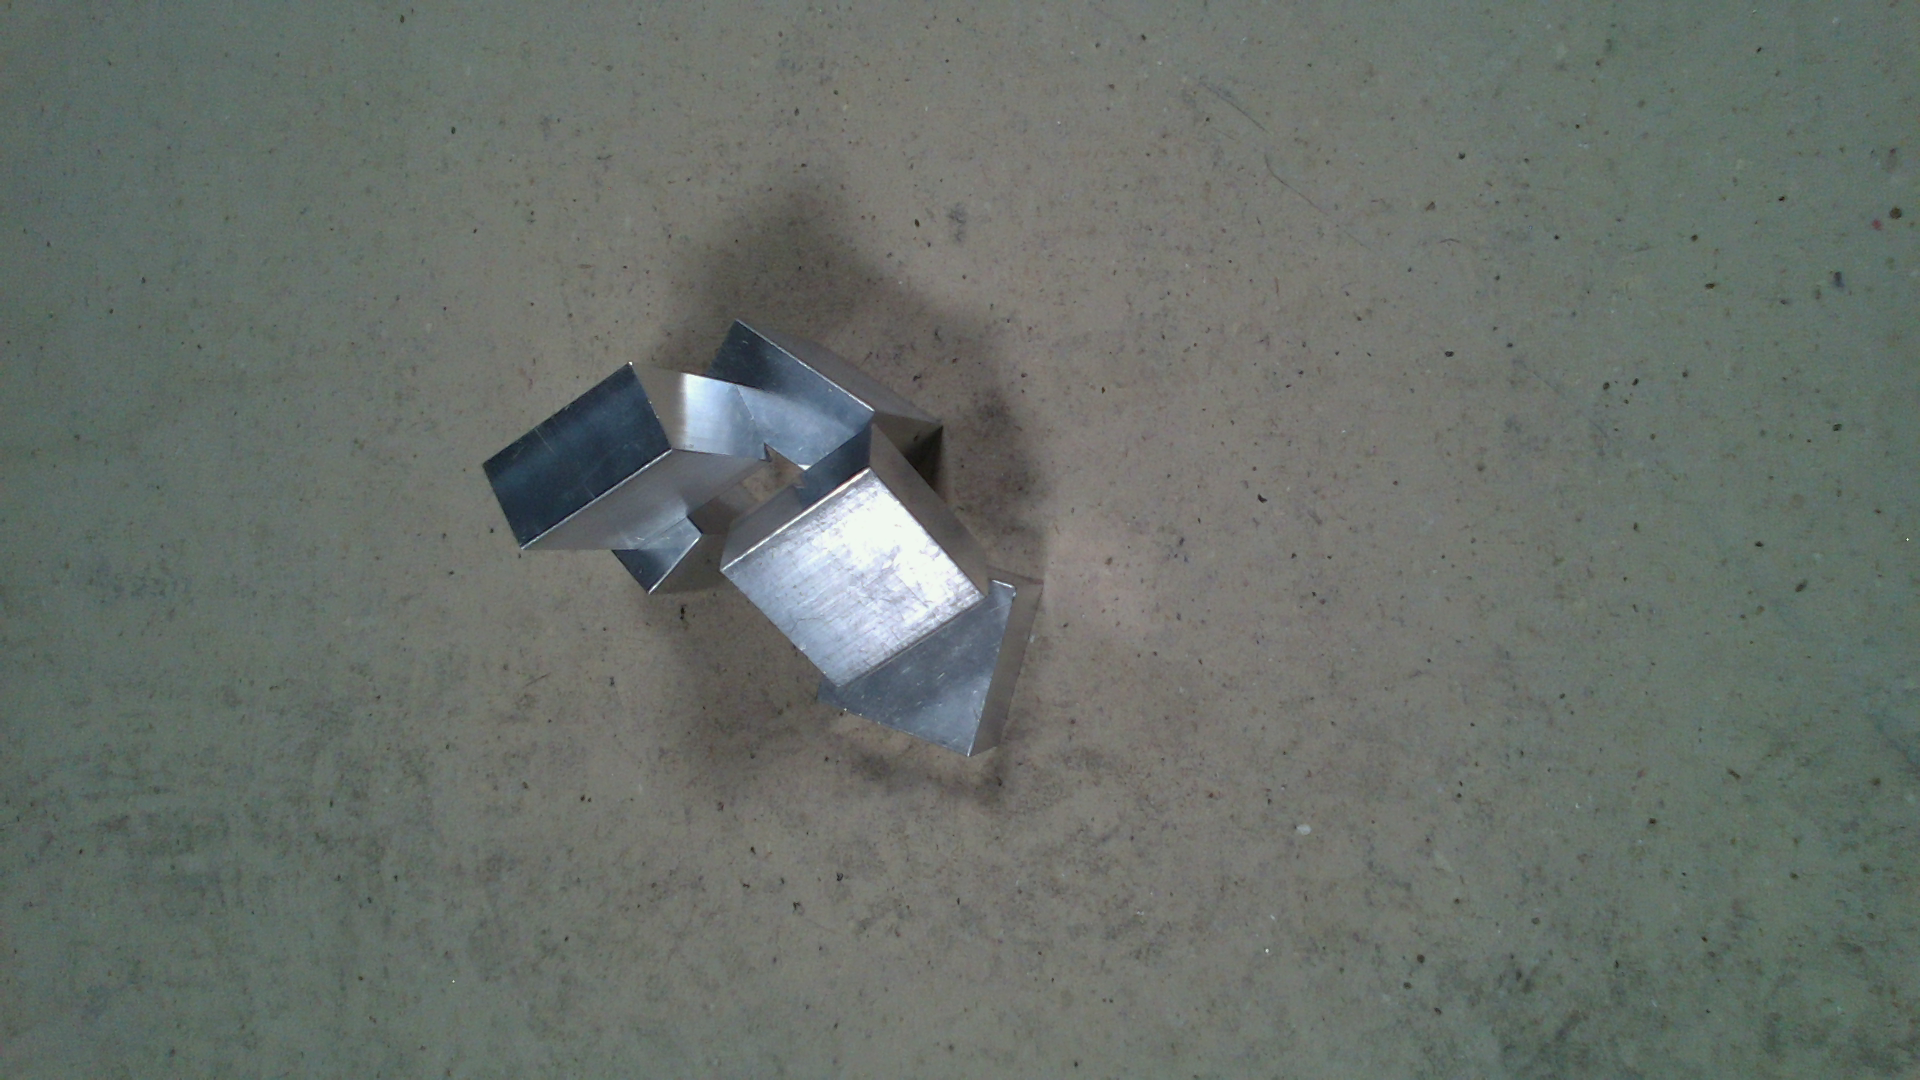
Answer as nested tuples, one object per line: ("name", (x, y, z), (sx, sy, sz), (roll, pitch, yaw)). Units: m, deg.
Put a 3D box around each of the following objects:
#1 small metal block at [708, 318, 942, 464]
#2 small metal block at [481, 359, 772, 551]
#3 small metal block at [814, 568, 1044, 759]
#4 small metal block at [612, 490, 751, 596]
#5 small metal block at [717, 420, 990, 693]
("small metal block", (-0.040, -0.037, 0.397), (0.050, 0.050, 0.025), (34, 101, 17))
("small metal block", (-0.086, -0.020, 0.361), (0.050, 0.050, 0.025), (-31, 80, 17))
("small metal block", (-0.009, 0.030, 0.399), (0.050, 0.025, 0.050), (17, 96, 19))
("small metal block", (-0.088, -0.011, 0.415), (0.025, 0.050, 0.050), (-47, 76, 14))
("small metal block", (-0.027, 0.005, 0.366), (0.050, 0.025, 0.050), (-33, 117, 17))
